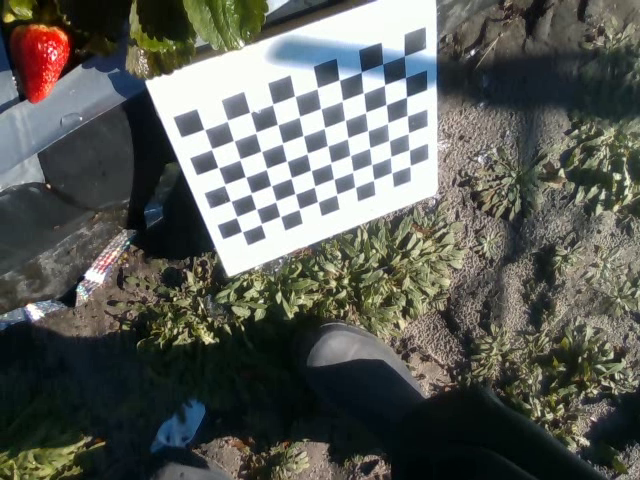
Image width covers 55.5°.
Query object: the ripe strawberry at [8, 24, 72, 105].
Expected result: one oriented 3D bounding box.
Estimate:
[{"bbox_3d":[-0.244,-0.152,0.536,0.061,0.065,0.057,2,-6,-32],"label":"ripe strawberry"}]
